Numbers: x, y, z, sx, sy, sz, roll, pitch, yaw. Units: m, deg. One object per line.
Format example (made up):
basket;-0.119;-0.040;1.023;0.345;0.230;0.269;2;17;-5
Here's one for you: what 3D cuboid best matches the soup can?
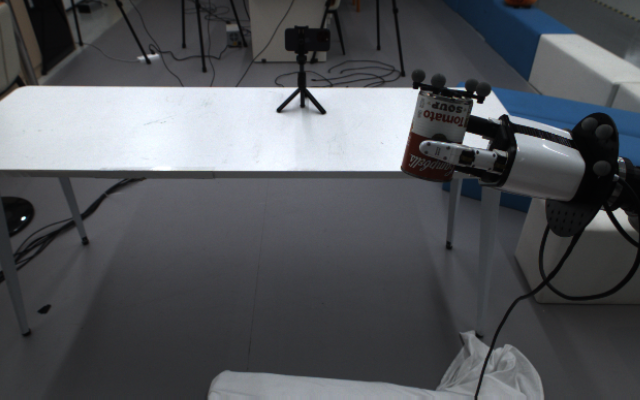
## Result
soup can;0.146;-0.082;0.606;0.067;0.101;0.067;9;20;-3
